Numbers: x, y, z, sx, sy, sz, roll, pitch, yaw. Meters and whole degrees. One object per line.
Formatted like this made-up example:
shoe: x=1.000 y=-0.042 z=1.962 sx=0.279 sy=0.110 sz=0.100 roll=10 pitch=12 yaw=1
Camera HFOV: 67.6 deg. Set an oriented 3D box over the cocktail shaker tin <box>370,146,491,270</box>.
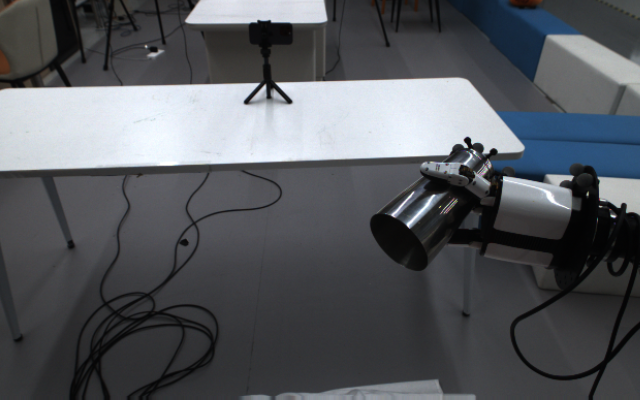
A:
cocktail shaker tin: x=0.157 y=0.000 z=0.641 sx=0.170 sy=0.093 sz=0.093 roll=-38 pitch=50 yaw=-24
